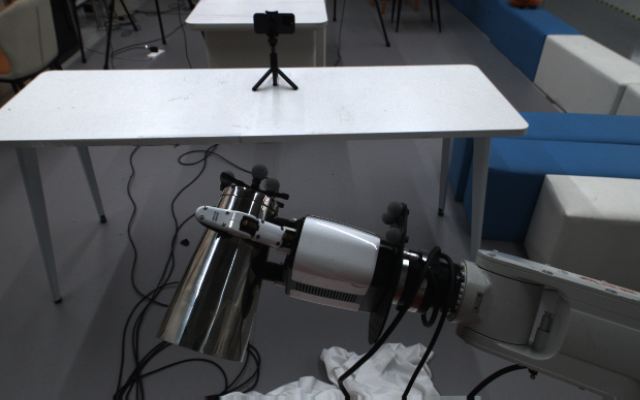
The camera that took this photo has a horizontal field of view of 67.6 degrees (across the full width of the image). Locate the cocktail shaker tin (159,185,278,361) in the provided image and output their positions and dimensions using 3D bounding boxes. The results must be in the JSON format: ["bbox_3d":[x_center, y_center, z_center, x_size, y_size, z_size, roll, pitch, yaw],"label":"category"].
[{"bbox_3d":[-0.099,0.077,0.522,0.093,0.093,0.170,12,72,14],"label":"cocktail shaker tin"}]
